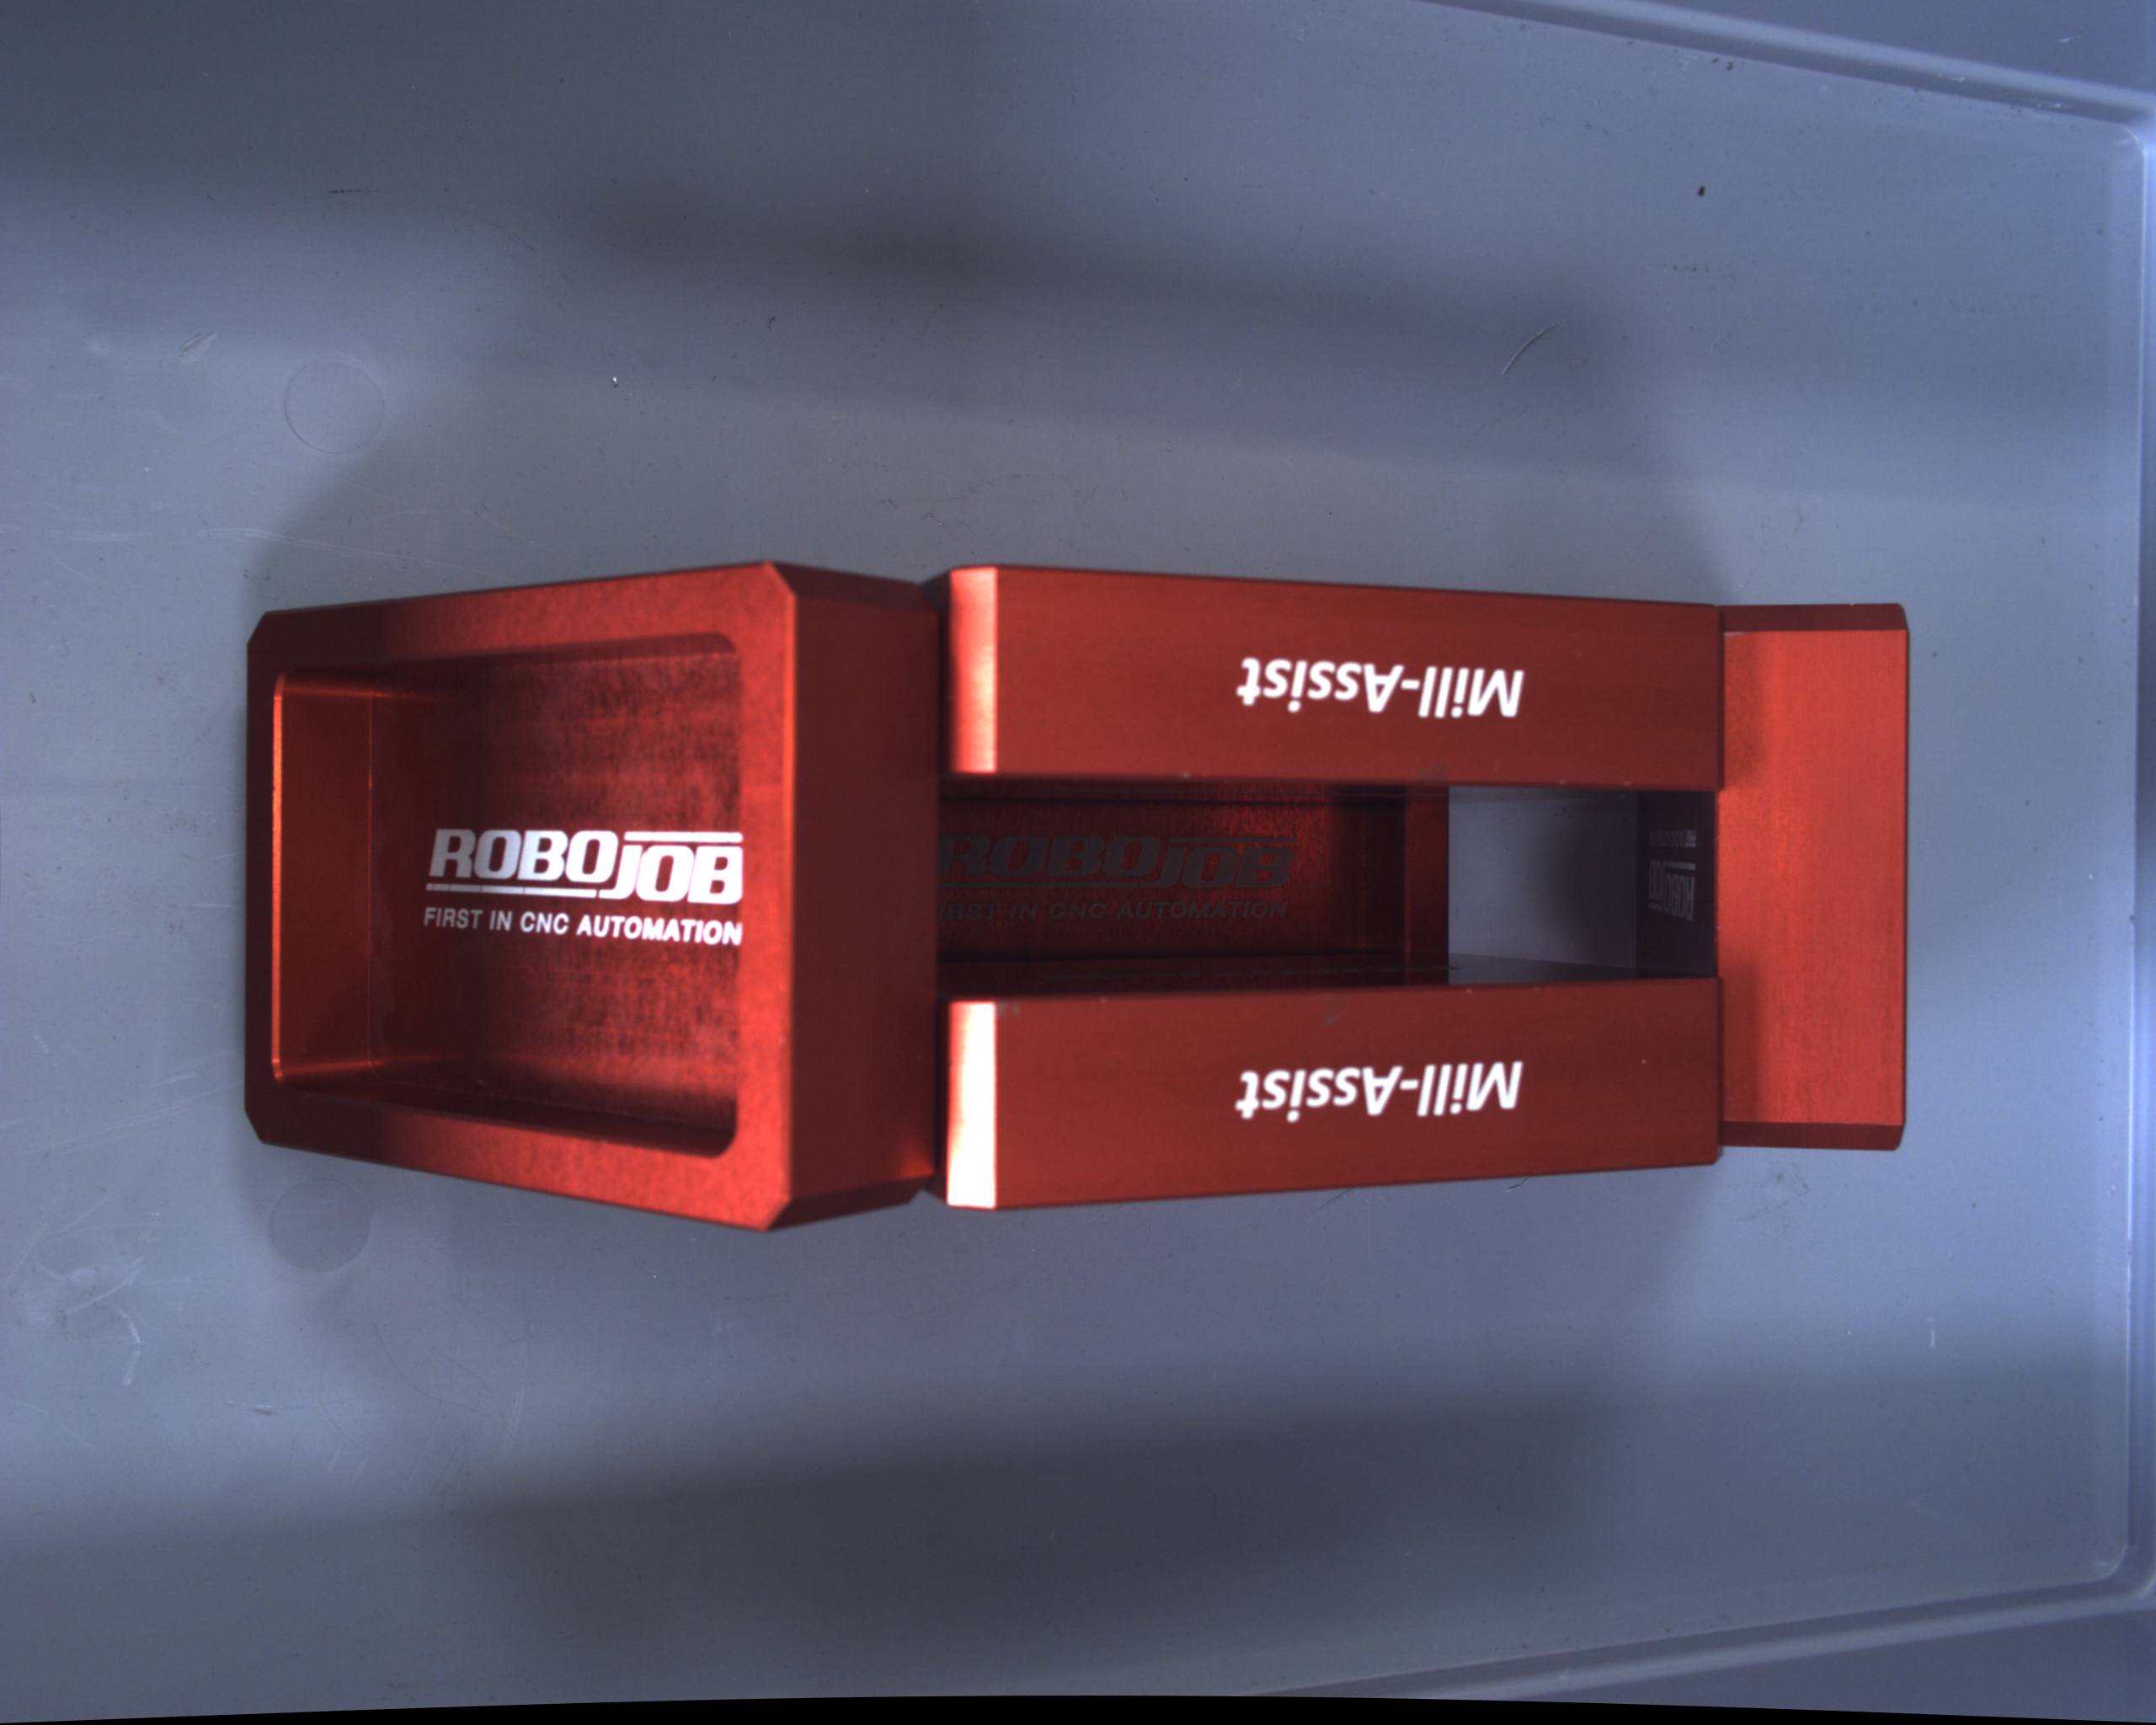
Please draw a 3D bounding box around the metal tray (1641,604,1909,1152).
[{"bbox_3d":[0.129,0.002,0.402,0.030,0.130,0.089,1,91,10],"label":"metal tray"}]

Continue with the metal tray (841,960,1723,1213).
[{"bbox_3d":[0.029,0.034,0.353,0.131,0.090,0.030,0,90,-21],"label":"metal tray"}]

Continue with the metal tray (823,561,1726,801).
[{"bbox_3d":[0.030,-0.027,0.352,0.131,0.090,0.030,0,90,-20],"label":"metal tray"}]

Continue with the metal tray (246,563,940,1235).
[{"bbox_3d":[-0.080,0.004,0.325,0.030,0.130,0.089,0,91,-52],"label":"metal tray"}]

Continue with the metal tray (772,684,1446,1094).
[{"bbox_3d":[0.008,0.003,0.409,0.131,0.030,0.089,0,90,-21],"label":"metal tray"}]
